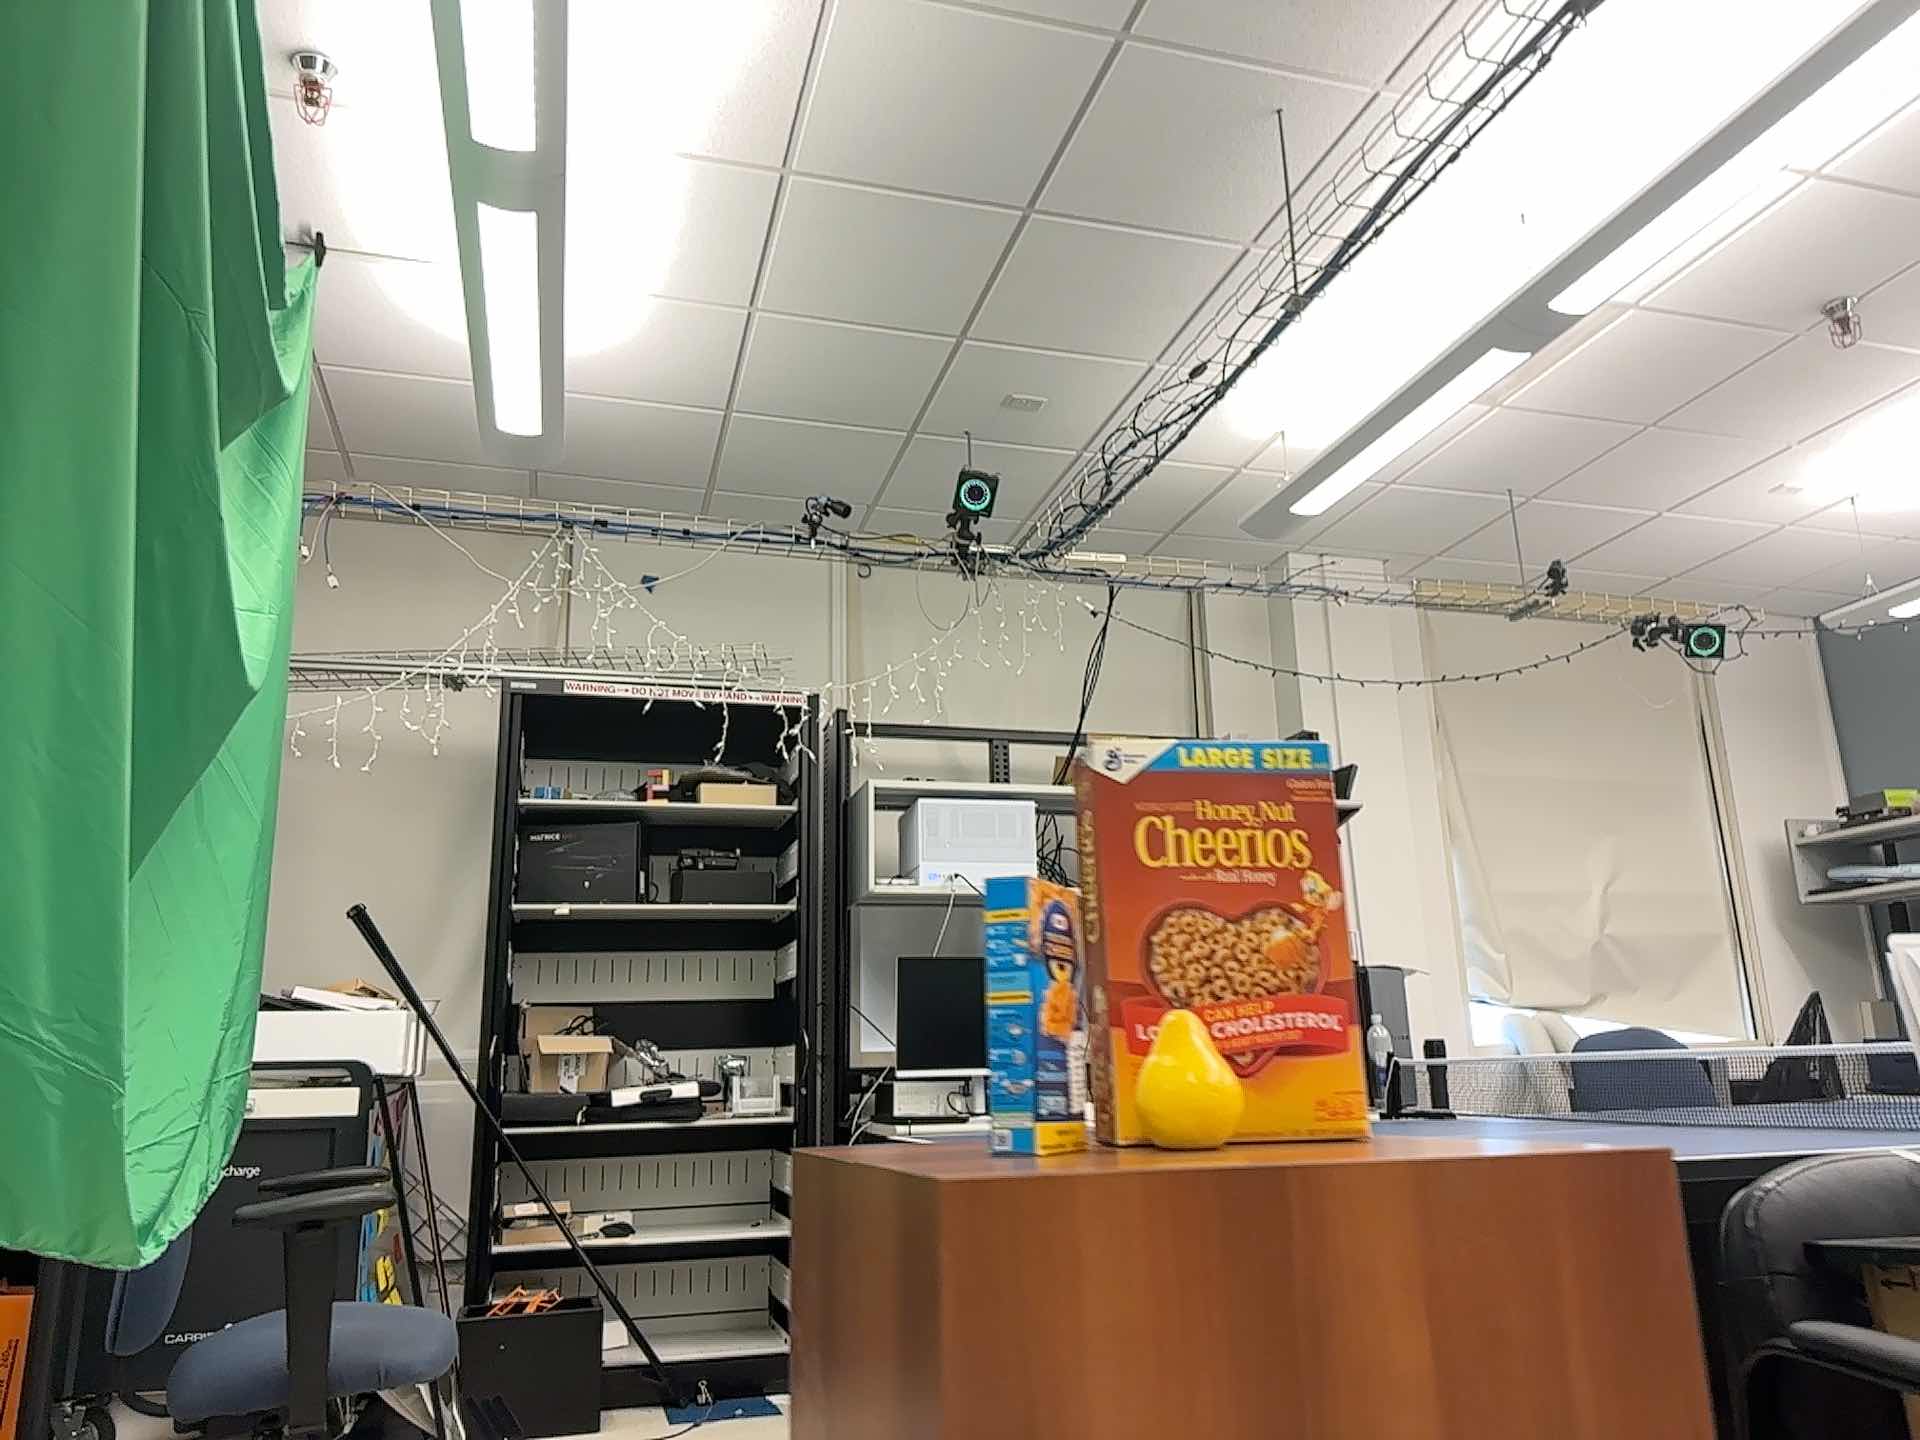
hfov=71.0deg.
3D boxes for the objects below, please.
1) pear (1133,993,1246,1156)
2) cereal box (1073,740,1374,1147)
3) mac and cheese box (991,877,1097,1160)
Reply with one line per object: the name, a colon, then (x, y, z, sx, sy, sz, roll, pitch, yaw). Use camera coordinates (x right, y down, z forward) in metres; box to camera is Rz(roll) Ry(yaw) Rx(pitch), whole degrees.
pear: (0.158, 0.242, 0.931, 0.080, 0.111, 0.080, 0, -19, 0)
cereal box: (0.199, 0.167, 1.045, 0.195, 0.297, 0.065, 1, -14, -10)
mac and cheese box: (0.058, 0.207, 0.935, 0.035, 0.181, 0.088, -9, -17, 29)
